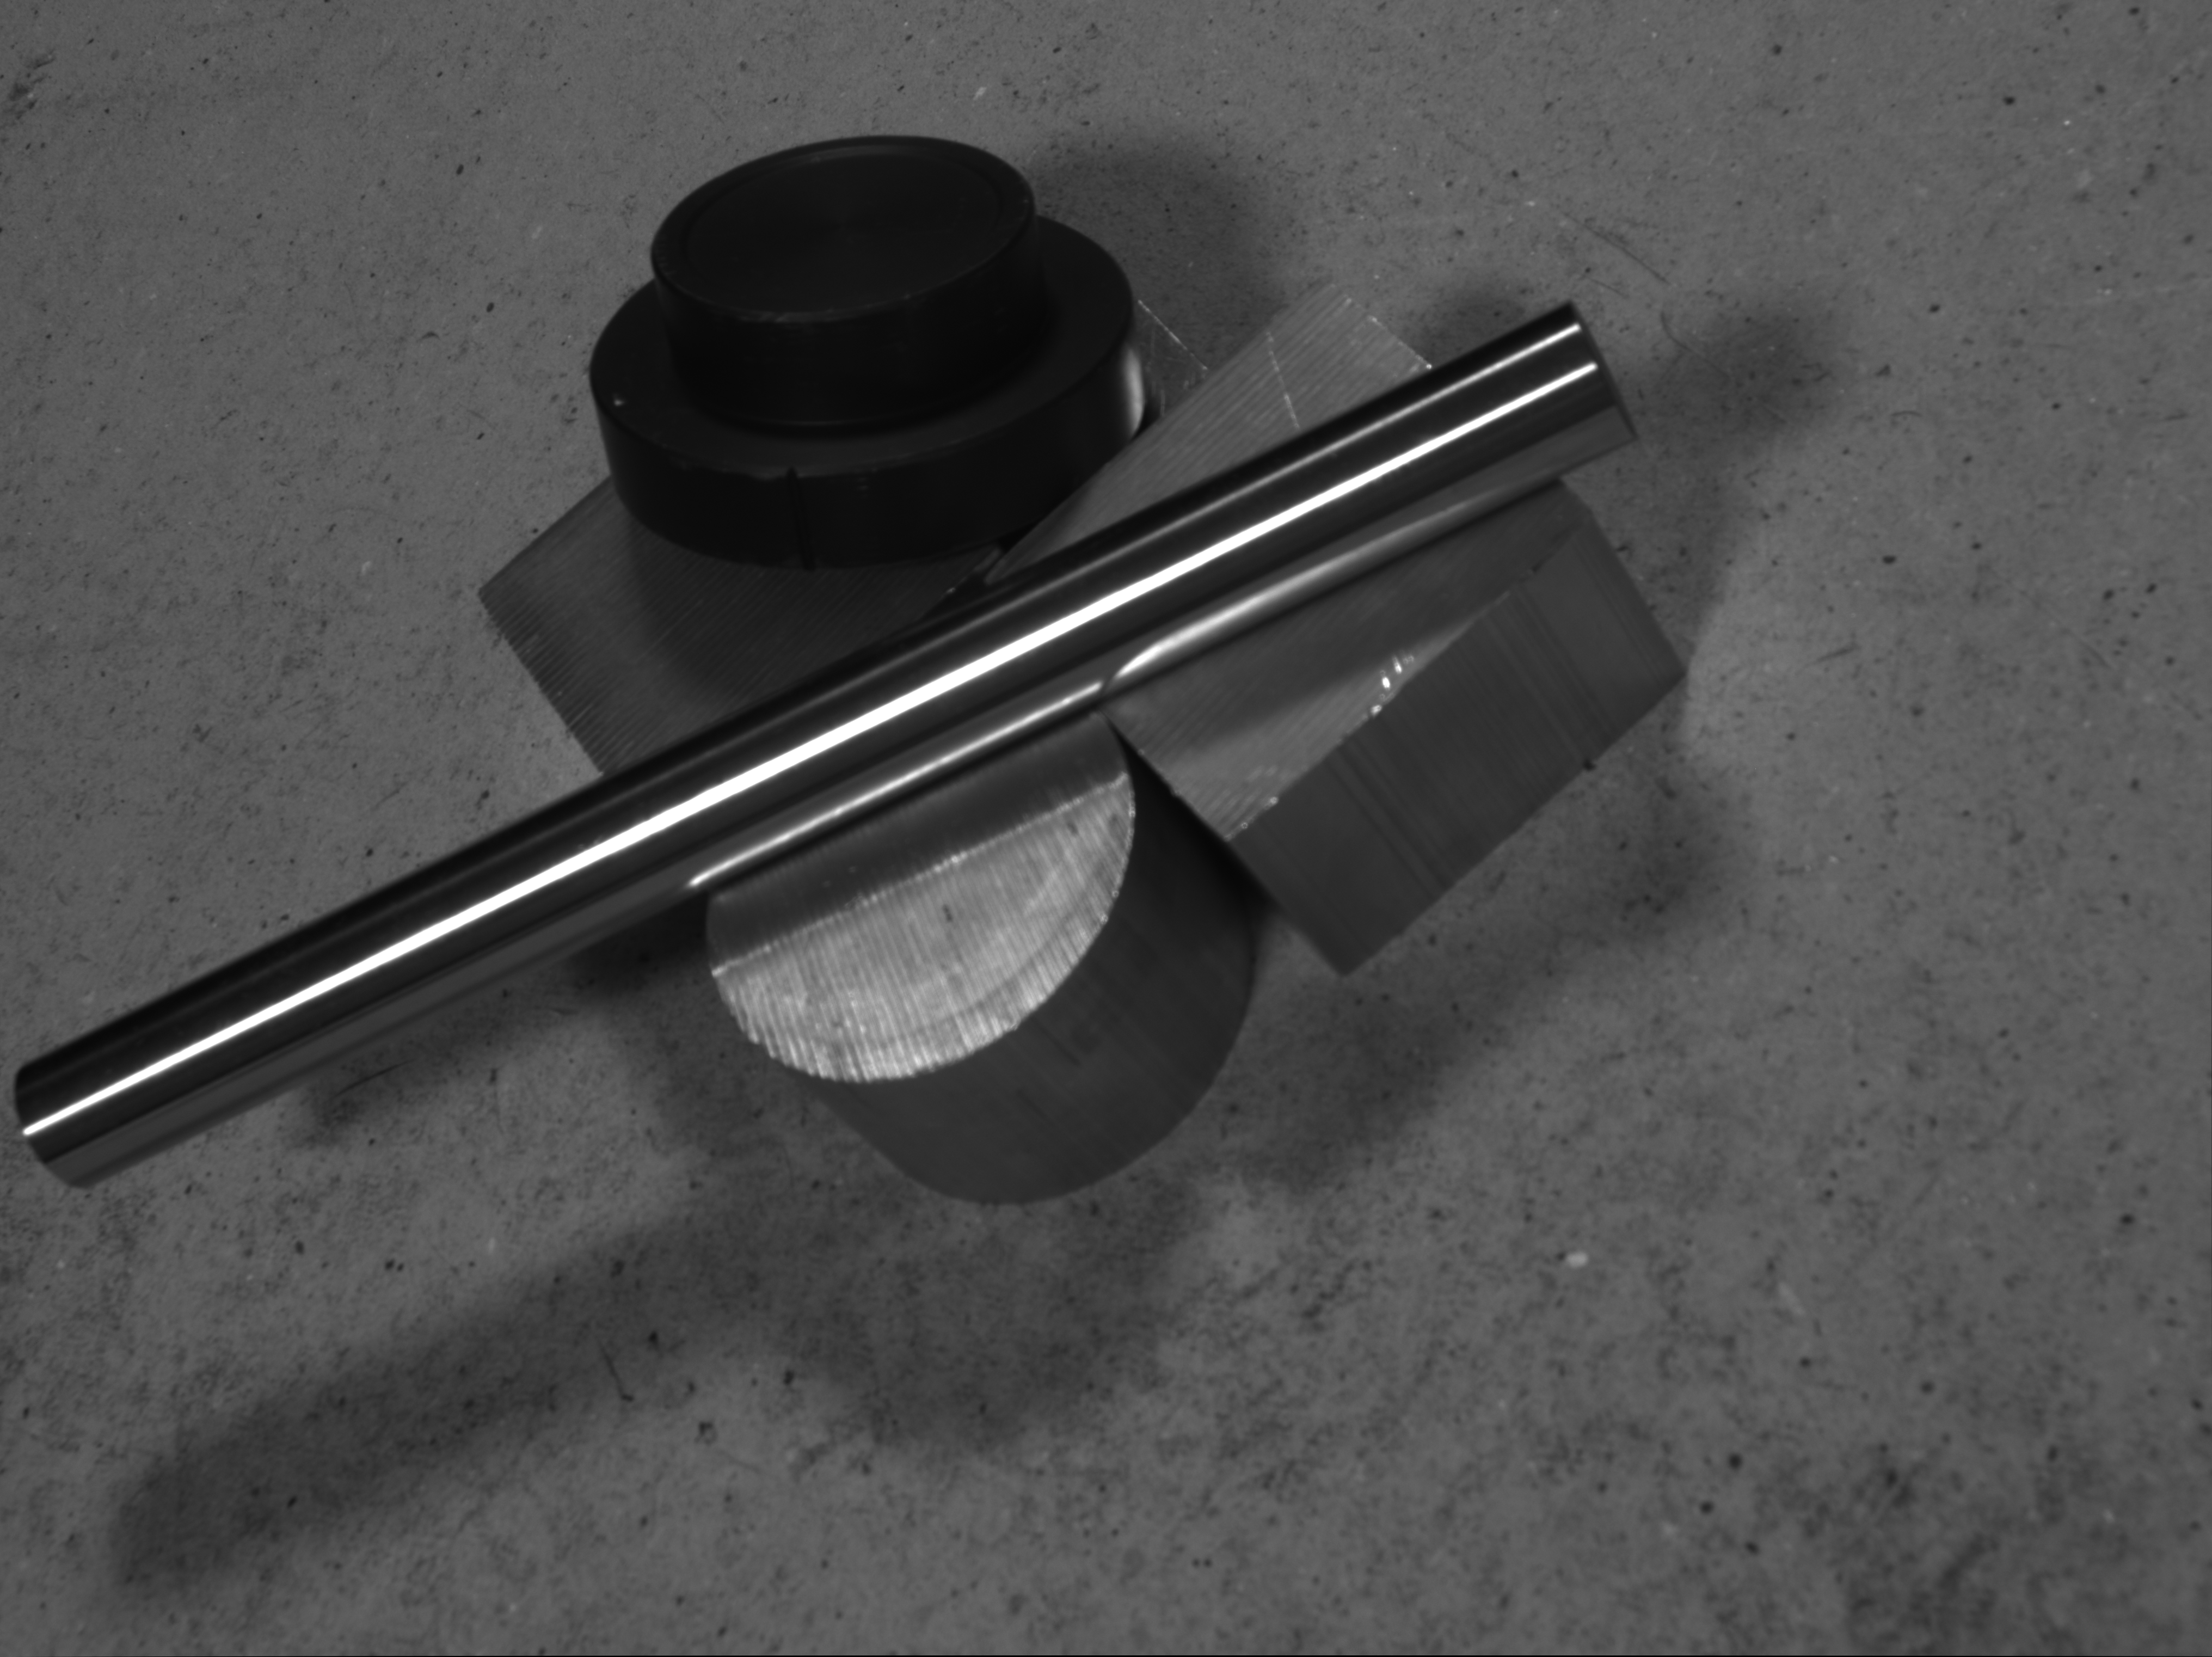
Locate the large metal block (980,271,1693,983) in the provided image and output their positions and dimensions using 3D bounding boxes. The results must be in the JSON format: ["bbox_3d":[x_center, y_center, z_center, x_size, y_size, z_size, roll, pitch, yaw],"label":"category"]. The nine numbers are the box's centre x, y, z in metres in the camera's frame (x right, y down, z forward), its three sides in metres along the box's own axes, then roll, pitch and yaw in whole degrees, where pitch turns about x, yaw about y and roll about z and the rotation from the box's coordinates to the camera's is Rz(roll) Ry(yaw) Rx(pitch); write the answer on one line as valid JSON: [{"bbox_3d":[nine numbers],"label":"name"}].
[{"bbox_3d":[0.039,-0.035,0.629,0.080,0.050,0.080,-41,51,0],"label":"large metal block"}]

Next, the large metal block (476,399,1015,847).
[{"bbox_3d":[-0.057,-0.034,0.679,0.080,0.050,0.080,-41,51,0],"label":"large metal block"}]

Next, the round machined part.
[{"bbox_3d":[-0.044,-0.090,0.655,0.098,0.042,0.098,-5,36,4],"label":"round machined part"}]

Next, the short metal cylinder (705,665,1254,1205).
[{"bbox_3d":[-0.021,0.018,0.628,0.080,0.050,0.080,-13,56,21],"label":"short metal cylinder"}]

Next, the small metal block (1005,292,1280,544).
[{"bbox_3d":[0.005,-0.063,0.680,0.050,0.025,0.050,-40,51,1],"label":"small metal block"}]

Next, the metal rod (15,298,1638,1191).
[{"bbox_3d":[-0.053,-0.010,0.614,0.300,0.025,0.025,-25,52,13],"label":"metal rod"}]
